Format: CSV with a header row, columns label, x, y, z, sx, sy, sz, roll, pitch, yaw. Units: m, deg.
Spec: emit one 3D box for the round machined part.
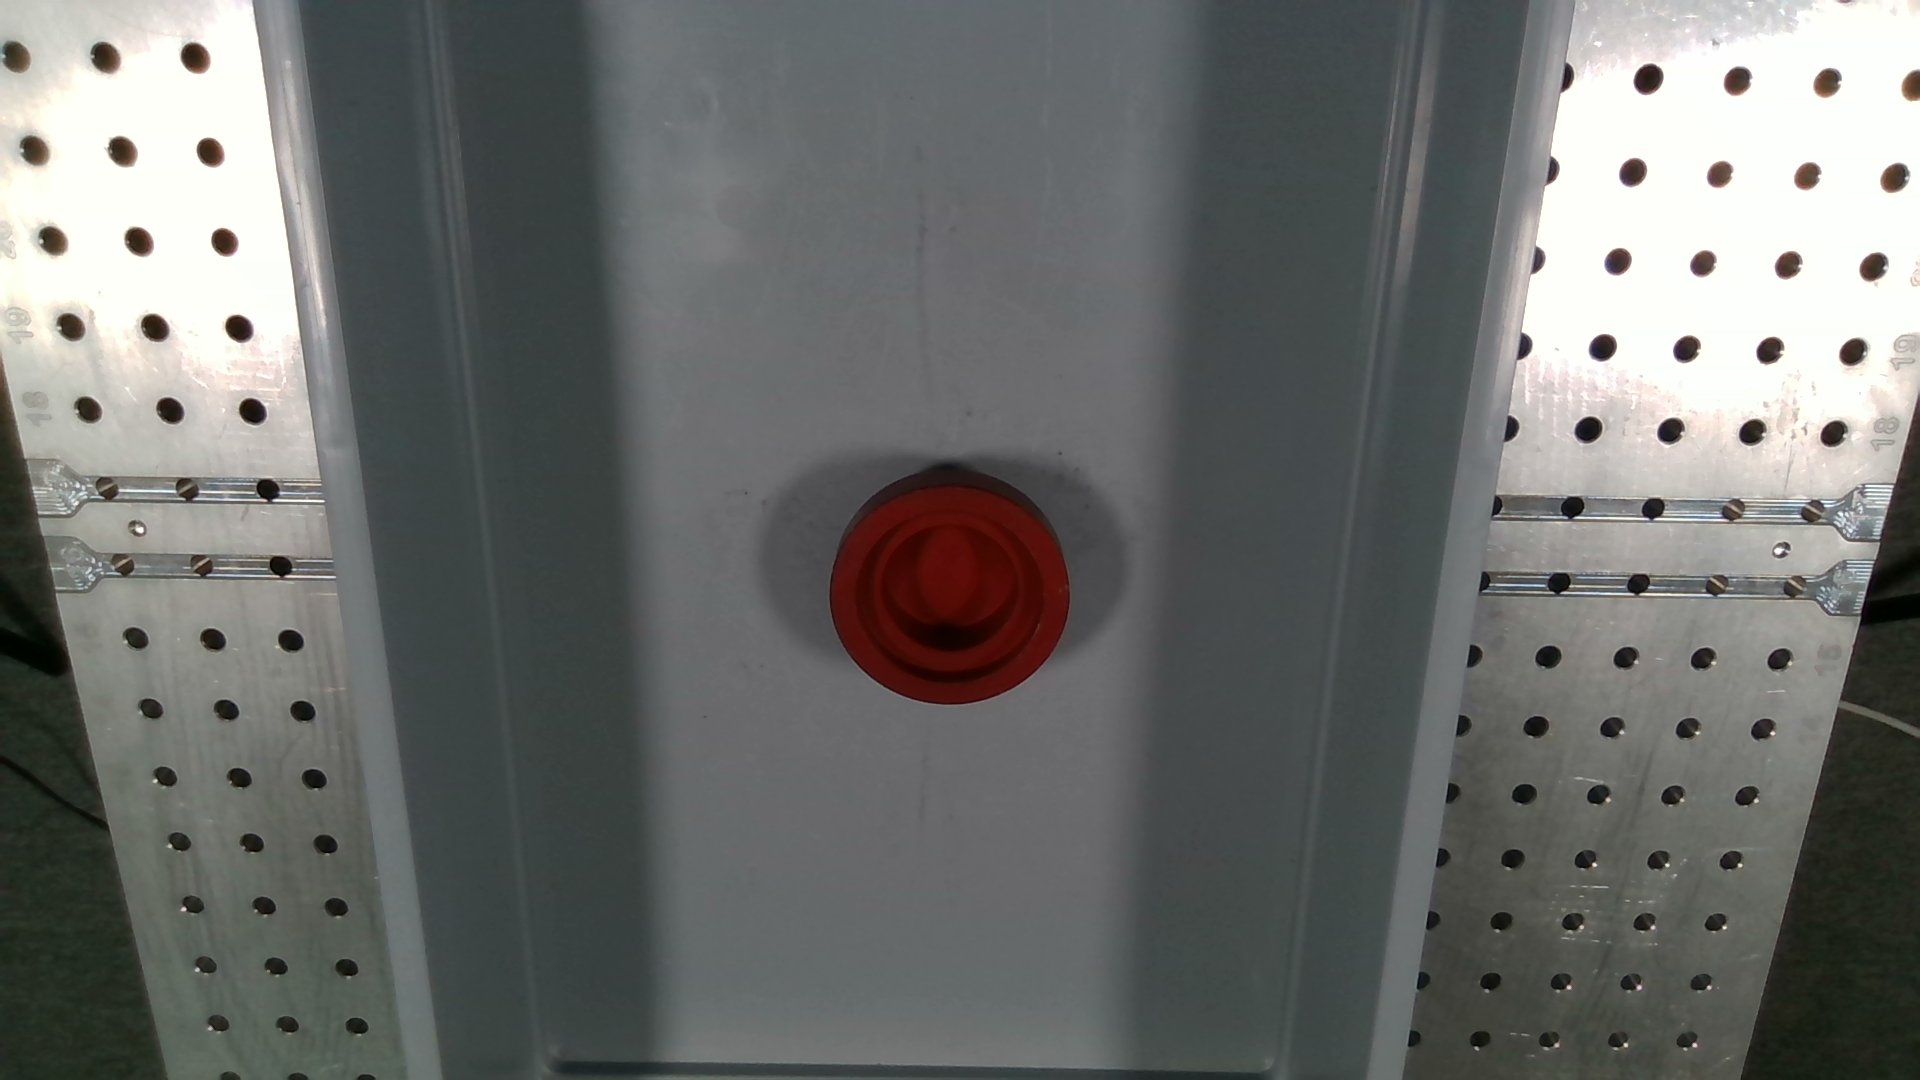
label,x,y,z,sx,sy,sz,roll,pitch,yaw
round machined part,-0.005,0.017,0.578,0.098,0.042,0.098,0,110,0
